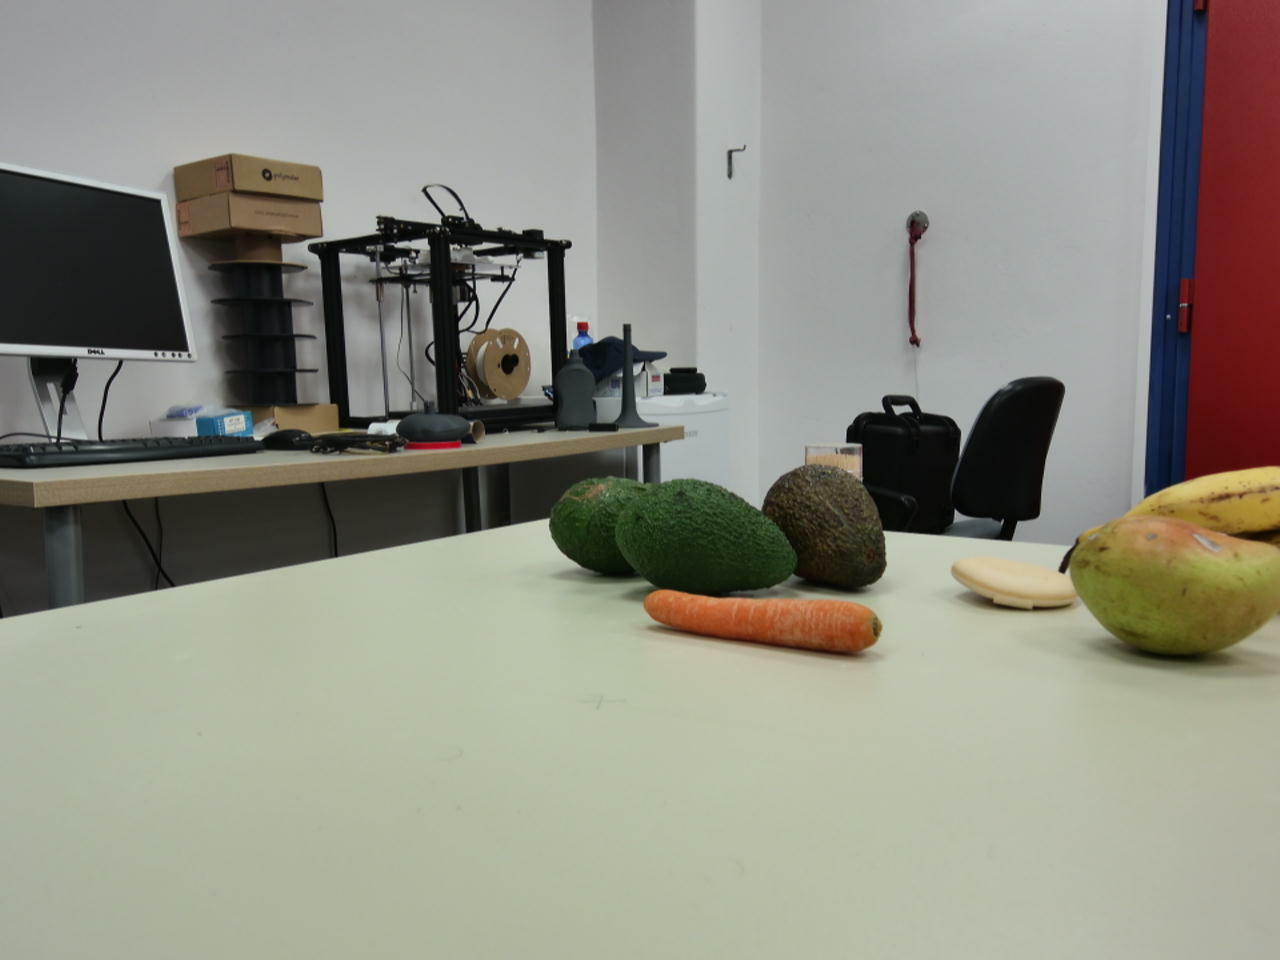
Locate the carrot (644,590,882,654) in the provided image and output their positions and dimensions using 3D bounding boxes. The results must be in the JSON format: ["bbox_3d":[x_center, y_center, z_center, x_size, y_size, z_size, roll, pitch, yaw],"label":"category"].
[{"bbox_3d":[0.054,0.065,0.475,0.122,0.023,0.024,3,4,34],"label":"carrot"}]
